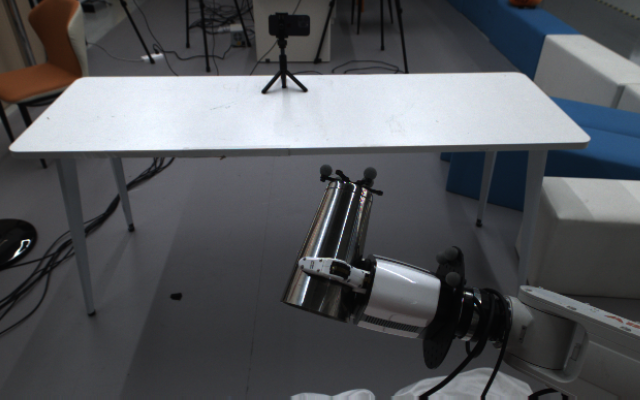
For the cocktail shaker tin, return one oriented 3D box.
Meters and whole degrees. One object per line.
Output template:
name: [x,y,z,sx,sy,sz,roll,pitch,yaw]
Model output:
cocktail shaker tin: [0.017,0.066,0.639,0.093,0.093,0.170,13,74,15]
